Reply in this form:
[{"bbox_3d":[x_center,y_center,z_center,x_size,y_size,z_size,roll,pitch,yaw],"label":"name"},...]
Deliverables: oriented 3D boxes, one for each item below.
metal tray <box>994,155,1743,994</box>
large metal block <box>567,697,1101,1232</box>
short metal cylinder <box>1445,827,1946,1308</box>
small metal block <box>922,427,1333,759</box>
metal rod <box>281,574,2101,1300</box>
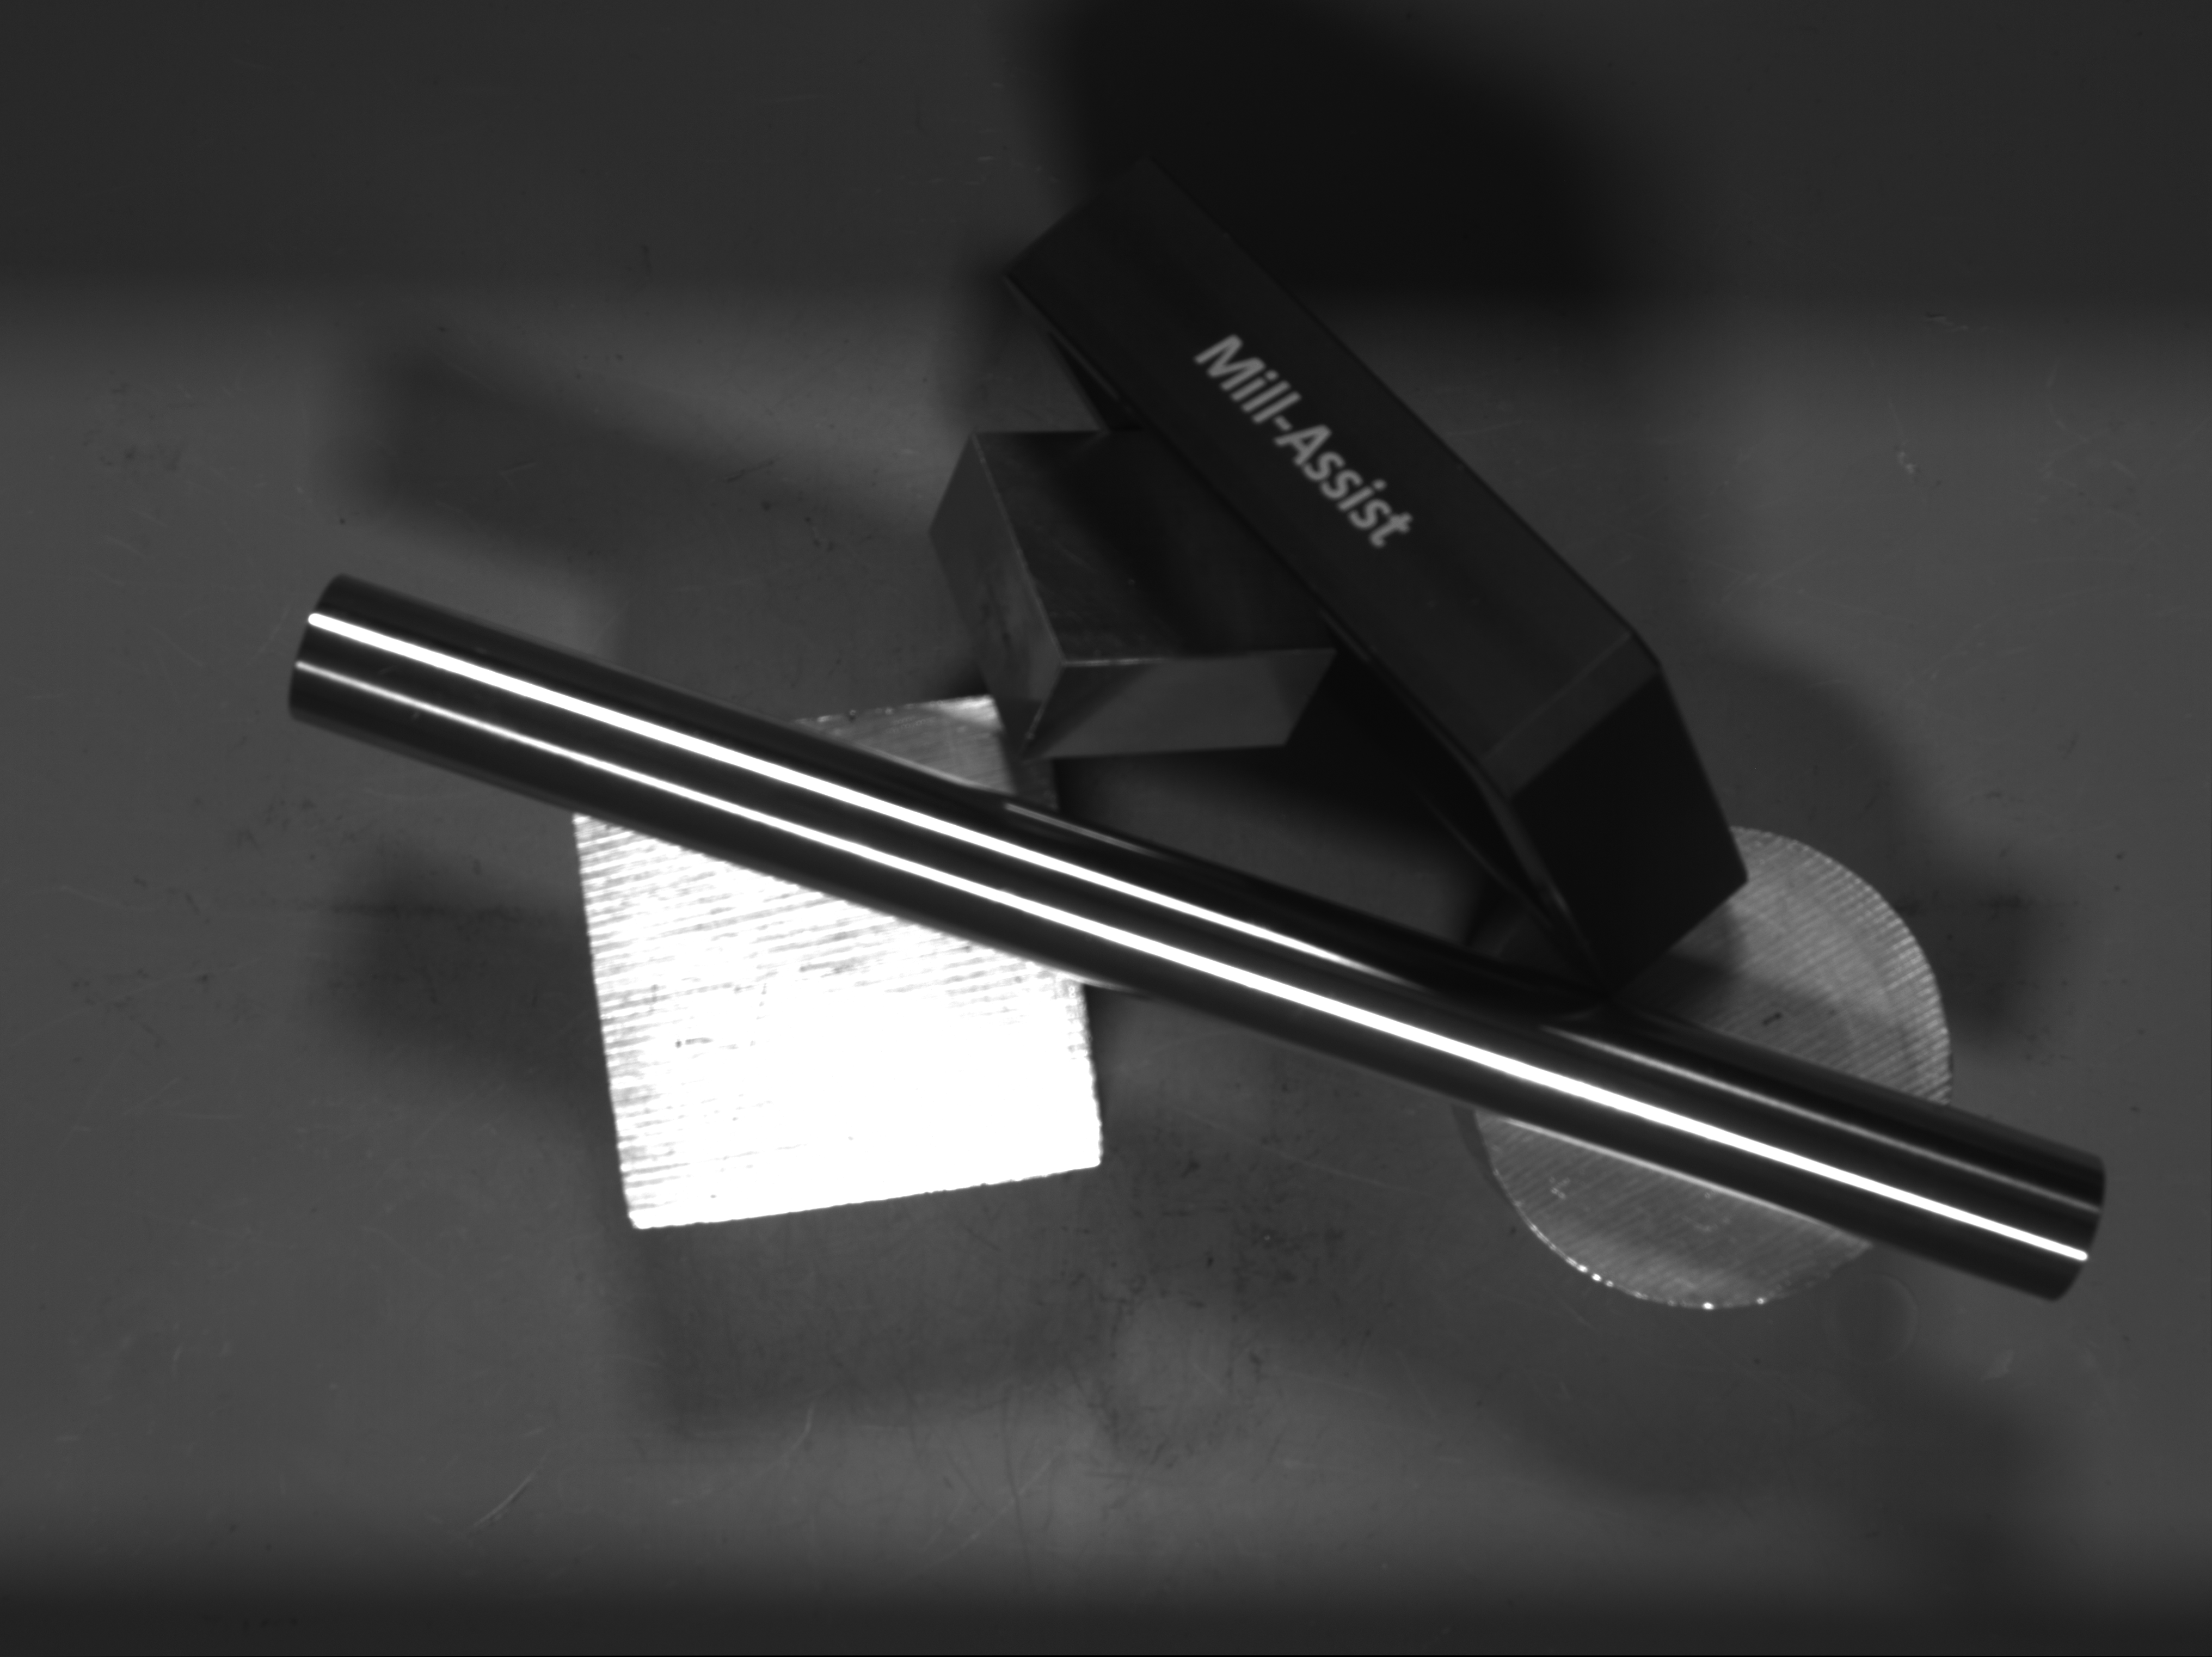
[{"bbox_3d":[0.042,-0.040,0.587,0.030,0.090,0.130,-41,60,-1],"label":"metal tray"},{"bbox_3d":[-0.046,0.022,0.631,0.080,0.050,0.080,-8,90,0],"label":"large metal block"},{"bbox_3d":[0.099,0.040,0.632,0.080,0.050,0.080,0,90,0],"label":"short metal cylinder"},{"bbox_3d":[0.003,-0.040,0.611,0.050,0.025,0.050,-3,54,-27],"label":"small metal block"},{"bbox_3d":[0.014,0.018,0.593,0.300,0.025,0.025,18,90,0],"label":"metal rod"}]
